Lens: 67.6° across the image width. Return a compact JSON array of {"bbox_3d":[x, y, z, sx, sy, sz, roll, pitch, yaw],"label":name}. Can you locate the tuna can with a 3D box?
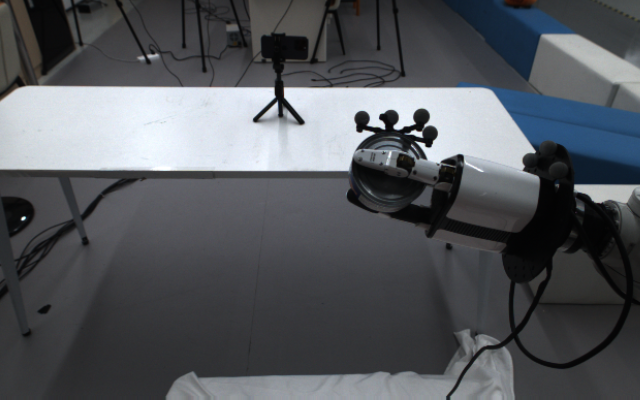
[{"bbox_3d":[0.076,-0.034,0.538,0.085,0.034,0.085,1,72,-4],"label":"tuna can"}]
